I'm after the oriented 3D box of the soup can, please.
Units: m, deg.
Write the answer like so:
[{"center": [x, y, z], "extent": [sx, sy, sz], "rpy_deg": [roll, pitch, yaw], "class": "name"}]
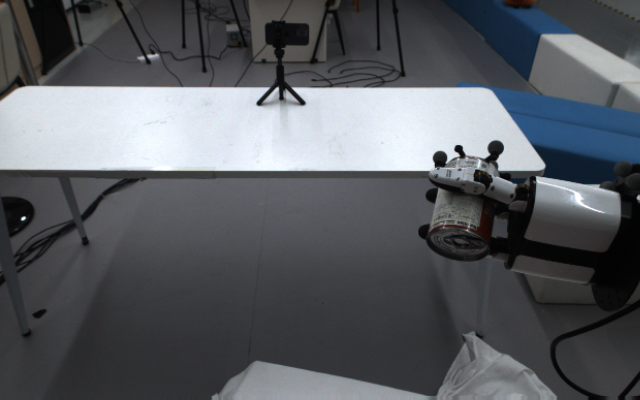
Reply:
[{"center": [0.165, 0.006, 0.552], "extent": [0.067, 0.067, 0.101], "rpy_deg": [12, 59, 14], "class": "soup can"}]
